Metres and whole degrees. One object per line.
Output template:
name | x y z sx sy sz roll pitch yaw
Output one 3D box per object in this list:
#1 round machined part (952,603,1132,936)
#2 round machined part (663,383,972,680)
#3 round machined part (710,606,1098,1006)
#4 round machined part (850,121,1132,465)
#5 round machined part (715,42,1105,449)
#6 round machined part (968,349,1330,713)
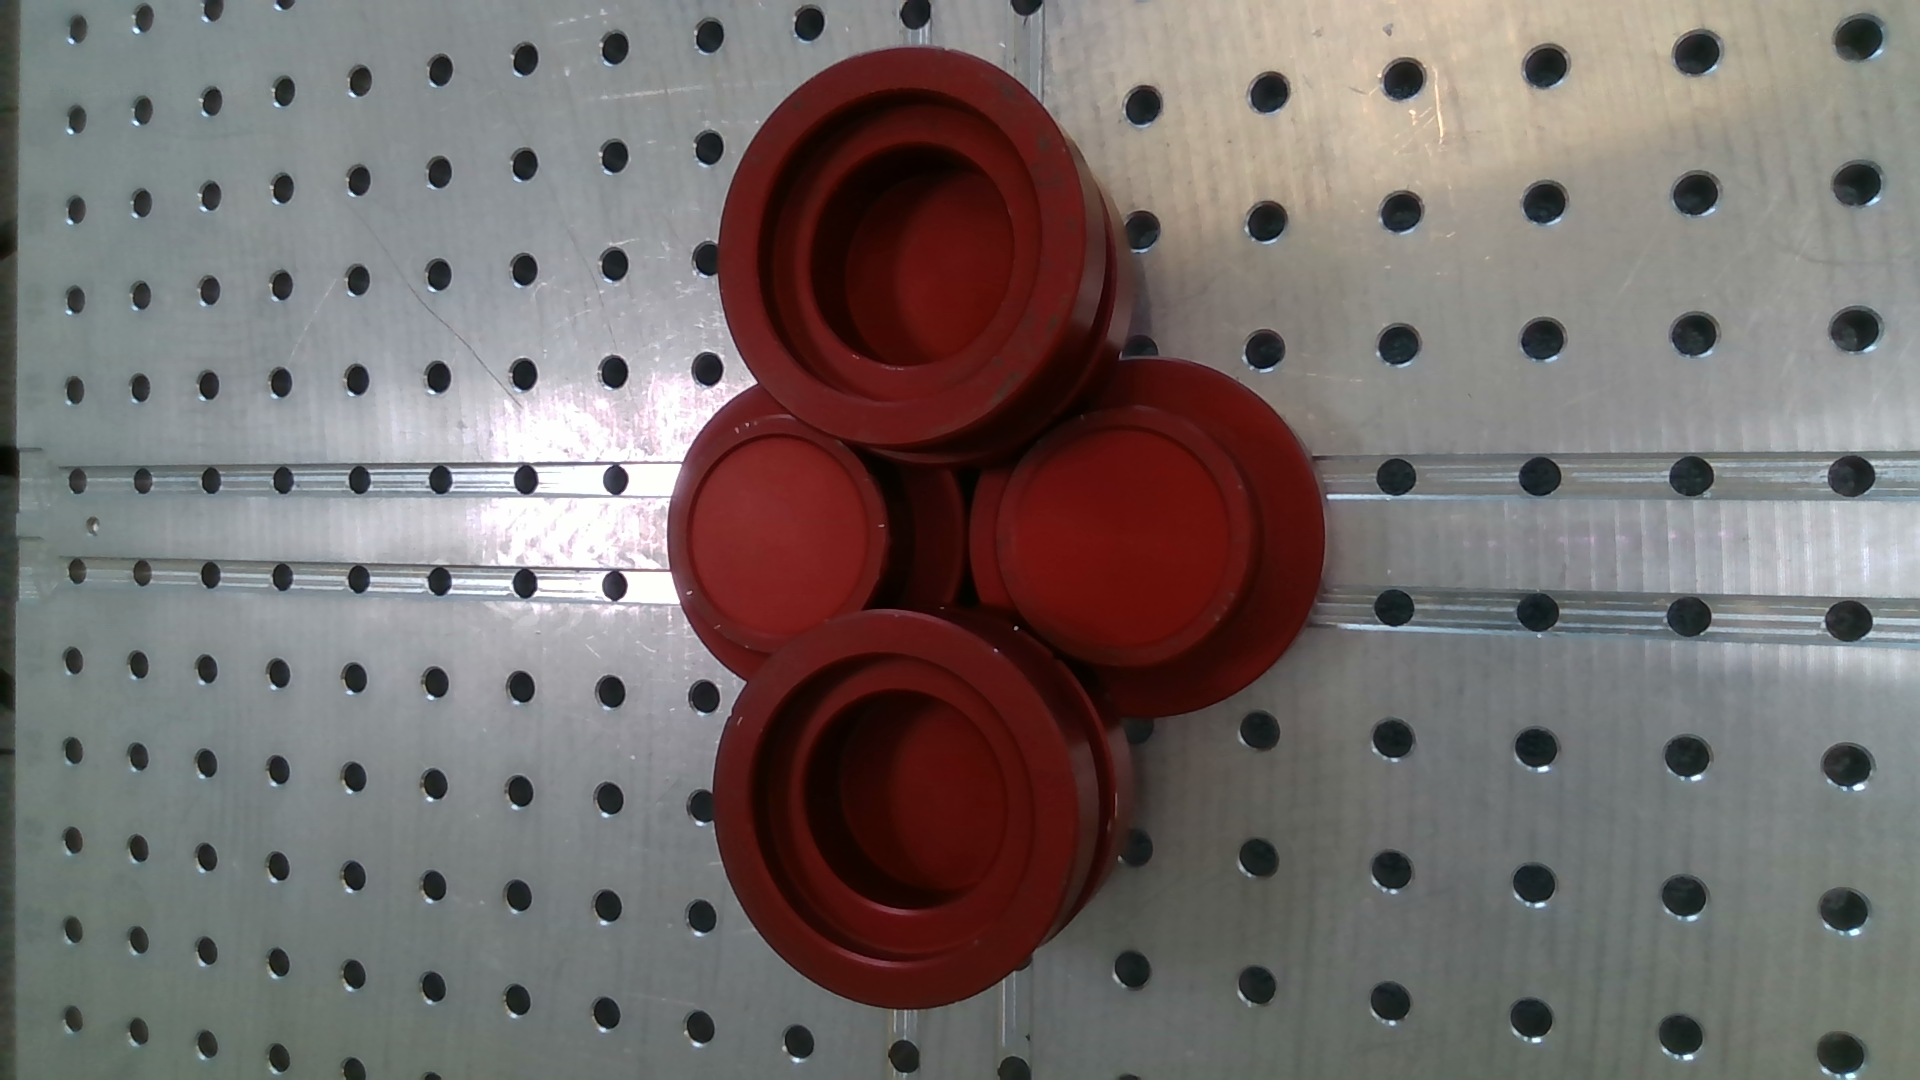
round machined part | 0.001 0.066 0.387 0.098 0.042 0.098 0 90 20
round machined part | -0.045 -0.002 0.403 0.098 0.042 0.098 0 90 20
round machined part | -0.012 0.065 0.357 0.098 0.042 0.098 0 90 20
round machined part | 0.001 -0.070 0.386 0.098 0.042 0.098 0 90 20
round machined part | -0.010 -0.072 0.356 0.098 0.042 0.098 0 90 20
round machined part | 0.048 -0.002 0.369 0.098 0.042 0.098 0 90 20
